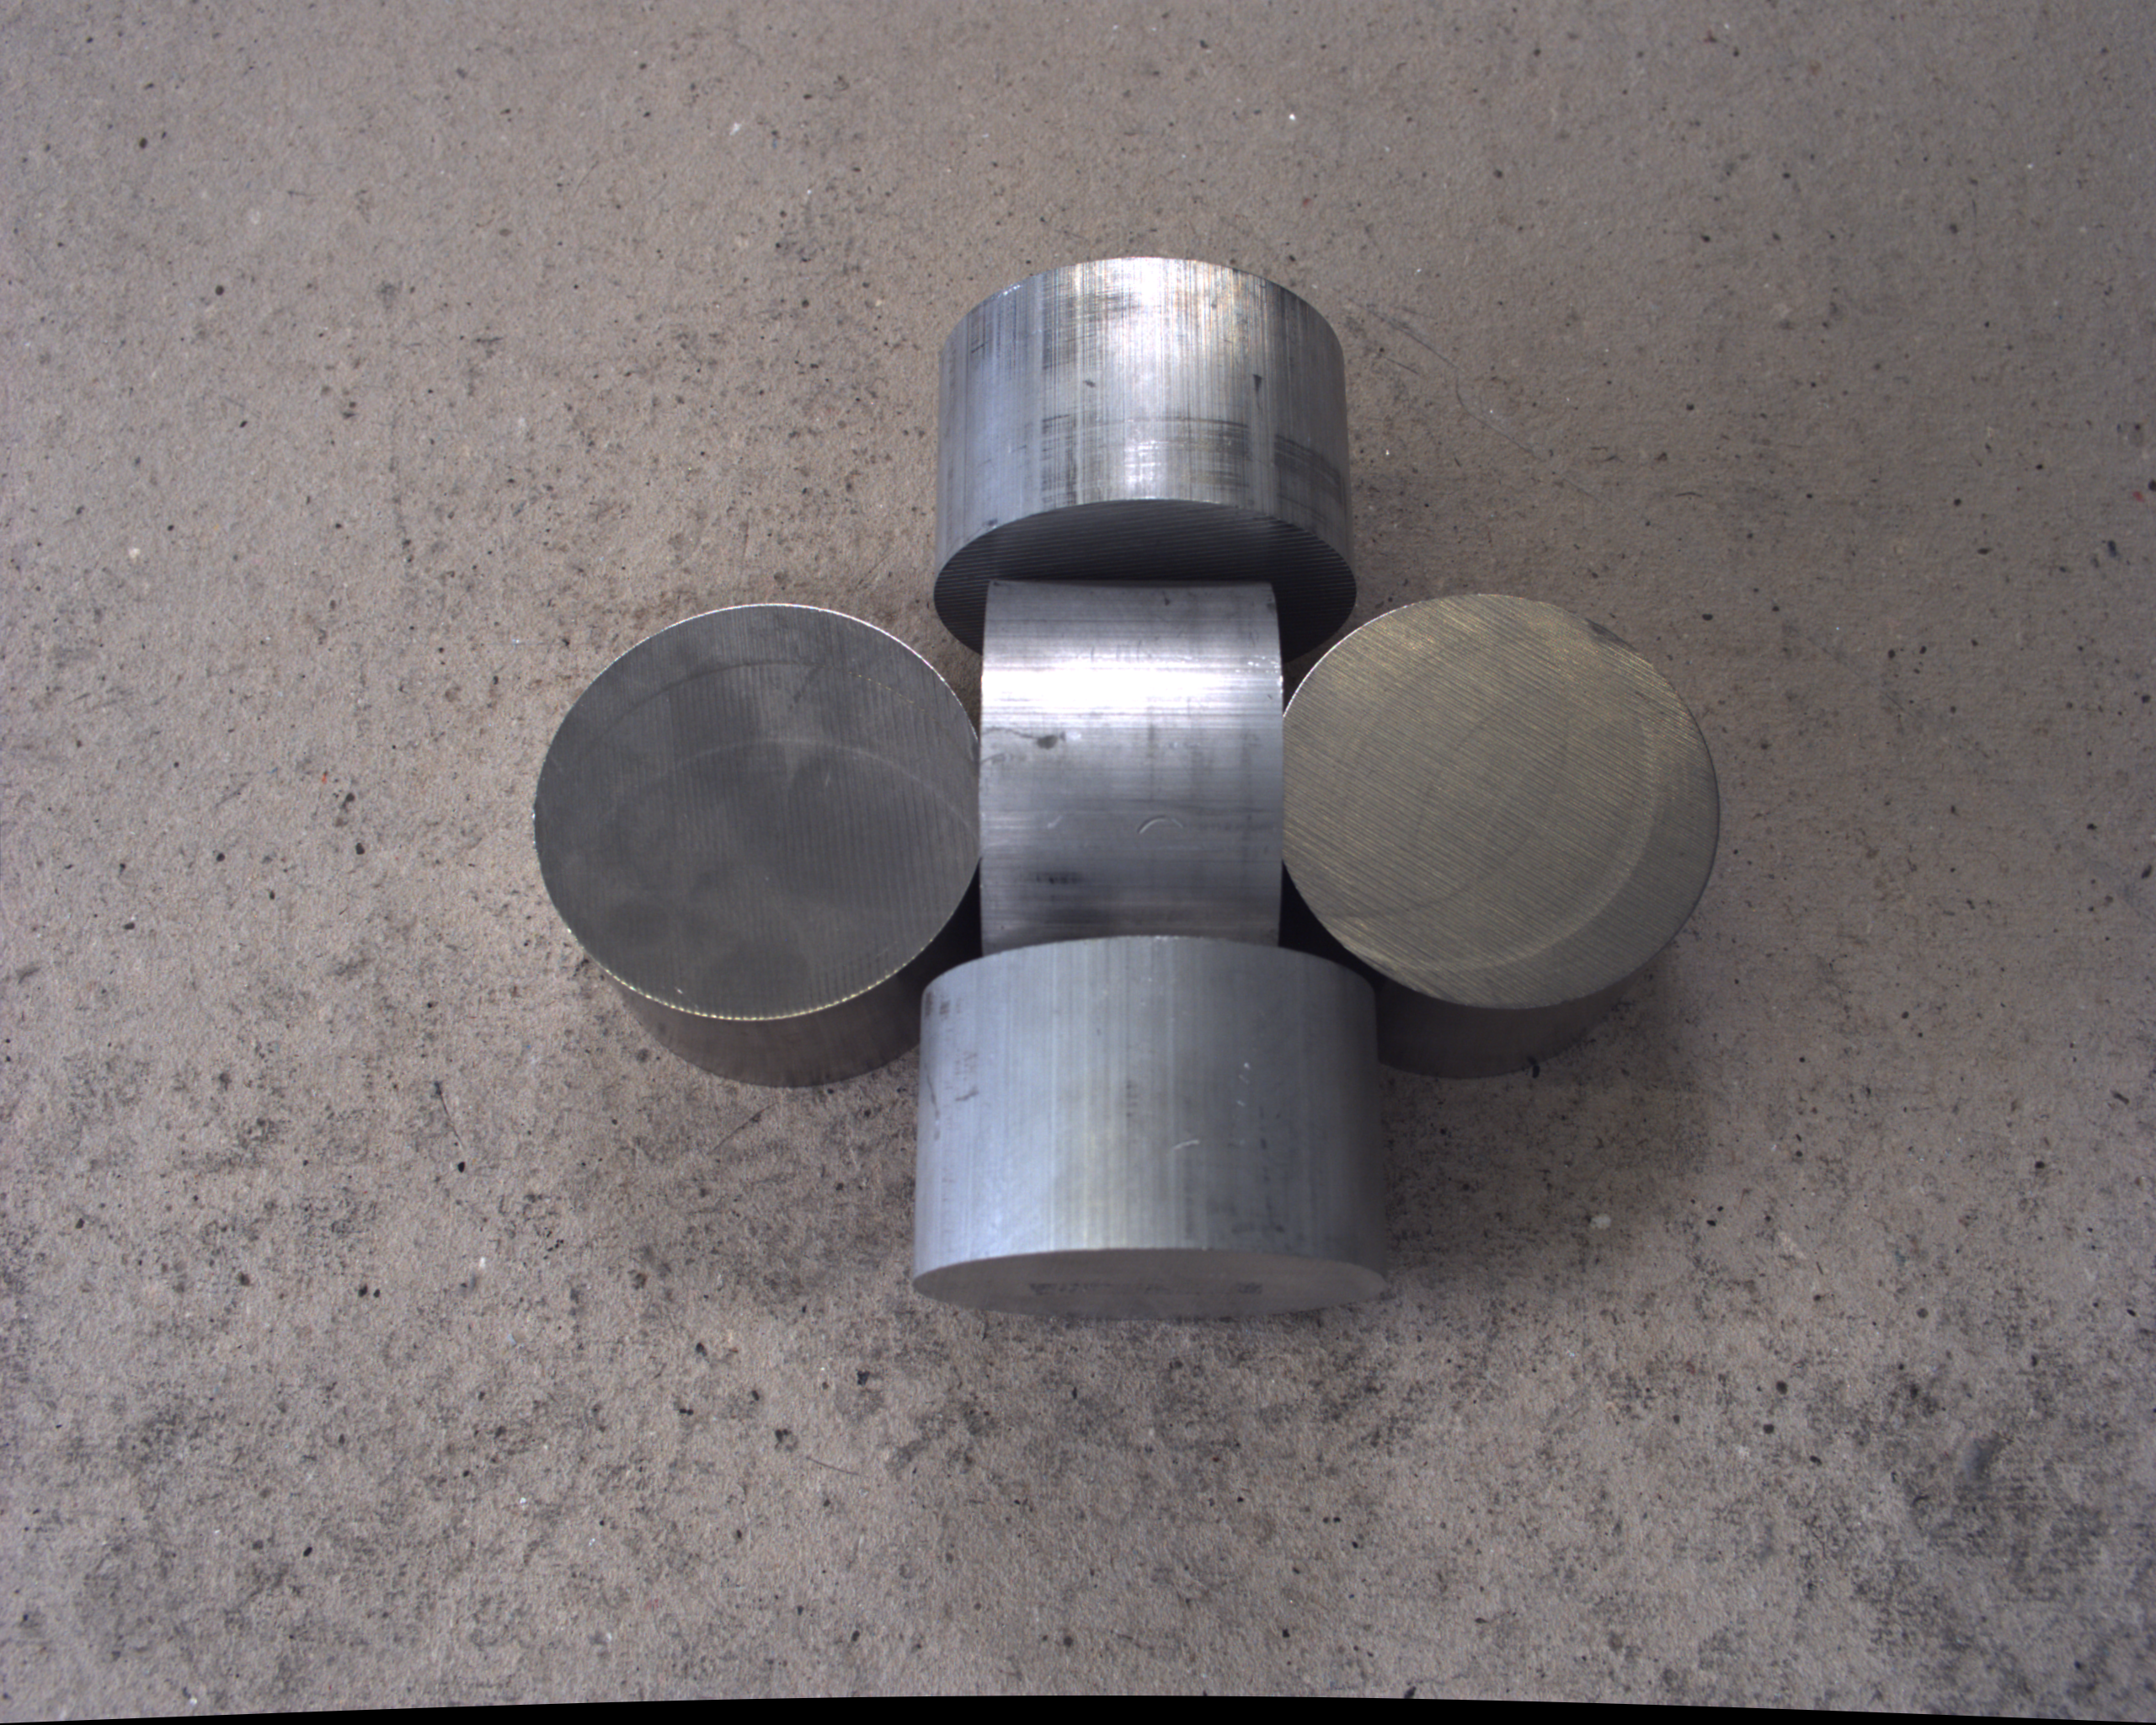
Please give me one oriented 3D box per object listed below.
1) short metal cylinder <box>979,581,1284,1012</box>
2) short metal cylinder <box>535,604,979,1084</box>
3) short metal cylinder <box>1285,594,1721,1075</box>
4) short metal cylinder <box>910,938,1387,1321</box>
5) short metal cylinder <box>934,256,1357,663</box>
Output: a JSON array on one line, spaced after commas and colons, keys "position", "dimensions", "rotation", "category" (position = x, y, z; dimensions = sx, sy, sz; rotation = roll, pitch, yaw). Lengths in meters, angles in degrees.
[{"position": [0.009, -0.012, 0.385], "dimensions": [0.050, 0.080, 0.080], "rotation": [0, 70, 0], "category": "short metal cylinder"}, {"position": [-0.057, -0.002, 0.396], "dimensions": [0.081, 0.050, 0.080], "rotation": [0, 70, -1], "category": "short metal cylinder"}, {"position": [0.075, -0.004, 0.397], "dimensions": [0.080, 0.050, 0.080], "rotation": [0, 70, 0], "category": "short metal cylinder"}, {"position": [0.012, 0.049, 0.363], "dimensions": [0.081, 0.080, 0.050], "rotation": [0, 70, 0], "category": "short metal cylinder"}, {"position": [0.013, -0.073, 0.407], "dimensions": [0.081, 0.080, 0.050], "rotation": [0, 70, 0], "category": "short metal cylinder"}]
